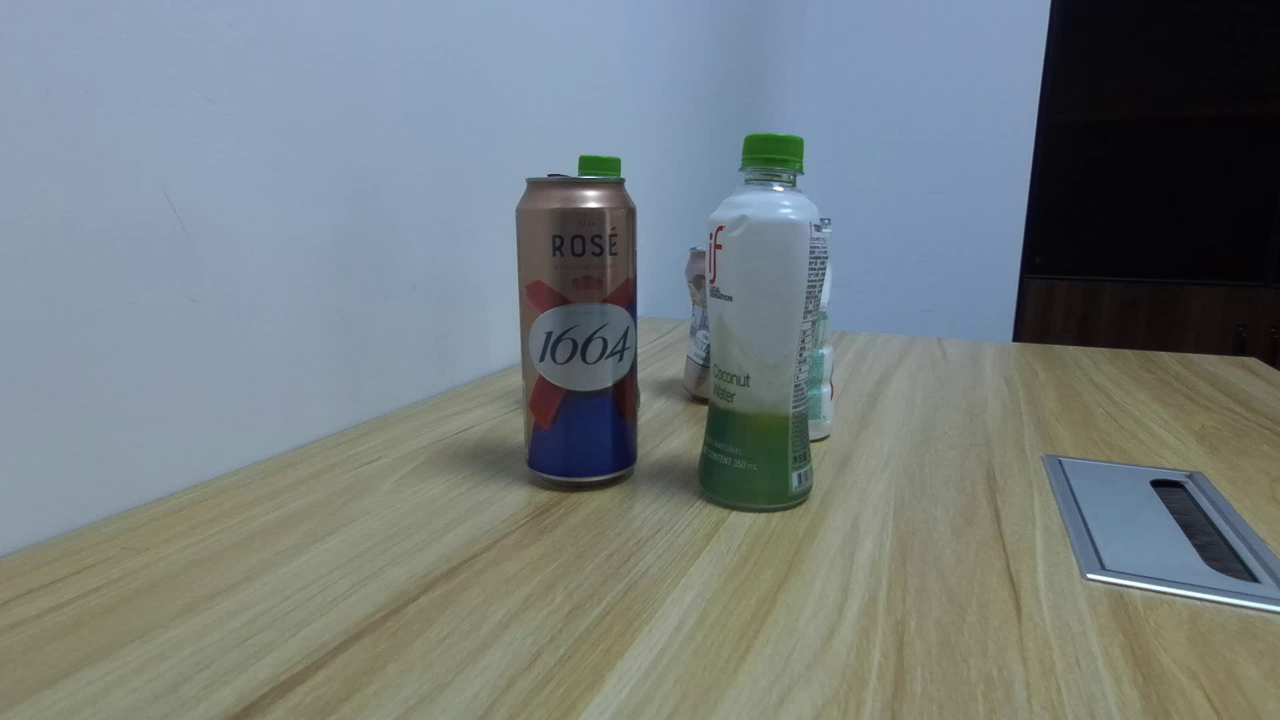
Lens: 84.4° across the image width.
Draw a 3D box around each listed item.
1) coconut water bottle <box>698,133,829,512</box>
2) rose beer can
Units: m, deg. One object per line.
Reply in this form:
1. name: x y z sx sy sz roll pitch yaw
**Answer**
1. coconut water bottle: 0.063 -0.020 0.370 0.069 0.187 0.069 0 10 0
2. rose beer can: -0.034 -0.015 0.402 0.068 0.169 0.068 1 12 0
